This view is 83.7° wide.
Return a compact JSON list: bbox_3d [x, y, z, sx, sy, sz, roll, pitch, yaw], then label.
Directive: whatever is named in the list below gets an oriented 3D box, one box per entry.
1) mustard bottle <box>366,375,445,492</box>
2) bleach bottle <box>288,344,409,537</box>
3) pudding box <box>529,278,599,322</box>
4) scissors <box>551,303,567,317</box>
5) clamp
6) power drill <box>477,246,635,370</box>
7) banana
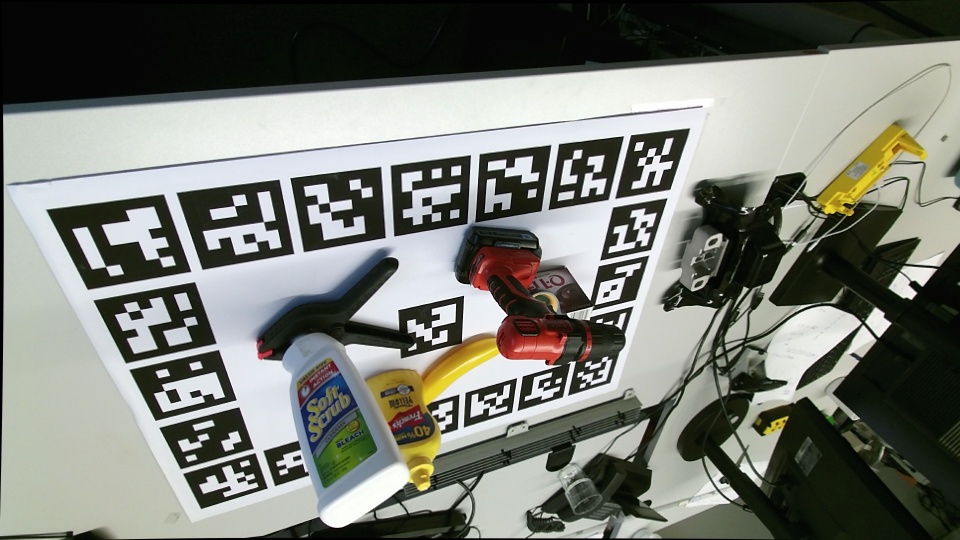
[{"bbox_3d":[-0.105,0.240,0.791,0.096,0.191,0.058,1,124,-27],"label":"mustard bottle"},{"bbox_3d":[-0.179,0.175,0.637,0.103,0.250,0.068,-31,137,-13],"label":"bleach bottle"},{"bbox_3d":[0.110,0.059,0.824,0.114,0.089,0.038,-8,134,-22],"label":"pudding box"},{"bbox_3d":[0.142,0.100,0.784,0.204,0.016,0.087,14,113,-29],"label":"scissors"},{"bbox_3d":[-0.186,0.097,0.716,0.203,0.036,0.165,-16,128,-14],"label":"clamp"},{"bbox_3d":[0.089,0.046,0.698,0.185,0.186,0.057,-2,132,-30],"label":"power drill"},{"bbox_3d":[-0.030,0.195,0.883,0.197,0.039,0.074,-41,149,7],"label":"banana"}]
